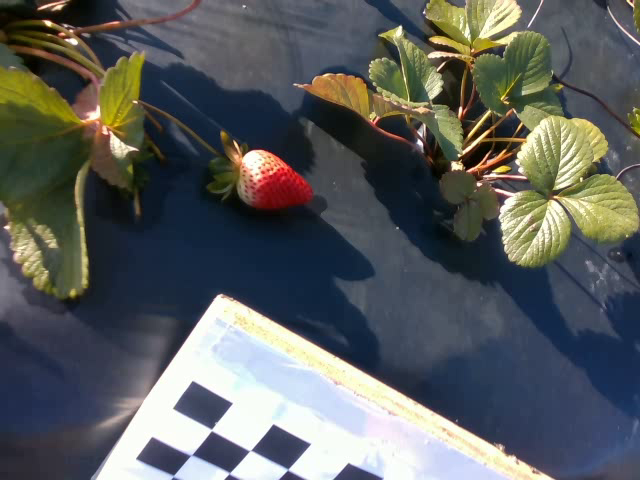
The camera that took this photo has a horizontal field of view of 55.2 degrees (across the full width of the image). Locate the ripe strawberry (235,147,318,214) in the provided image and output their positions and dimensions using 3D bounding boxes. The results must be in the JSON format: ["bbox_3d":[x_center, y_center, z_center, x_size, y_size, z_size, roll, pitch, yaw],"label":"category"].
[{"bbox_3d":[-0.027,-0.037,0.379,0.063,0.045,0.044,15,26,-9],"label":"ripe strawberry"}]
